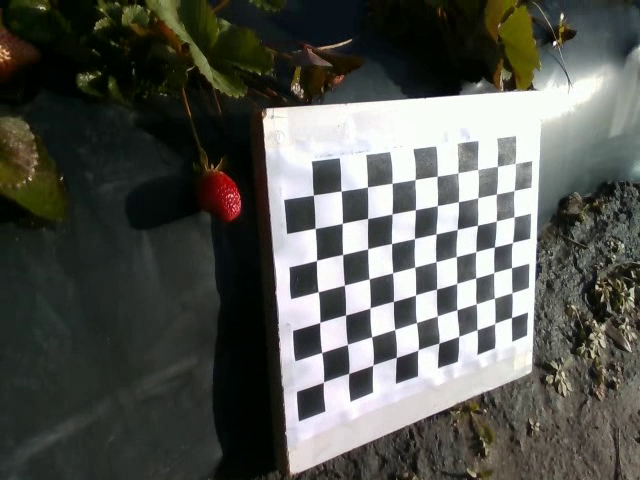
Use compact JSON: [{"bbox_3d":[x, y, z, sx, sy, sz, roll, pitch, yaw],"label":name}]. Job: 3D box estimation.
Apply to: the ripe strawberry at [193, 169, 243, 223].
[{"bbox_3d":[-0.056,-0.022,0.369,0.035,0.037,0.033,-13,-36,-32],"label":"ripe strawberry"}]
